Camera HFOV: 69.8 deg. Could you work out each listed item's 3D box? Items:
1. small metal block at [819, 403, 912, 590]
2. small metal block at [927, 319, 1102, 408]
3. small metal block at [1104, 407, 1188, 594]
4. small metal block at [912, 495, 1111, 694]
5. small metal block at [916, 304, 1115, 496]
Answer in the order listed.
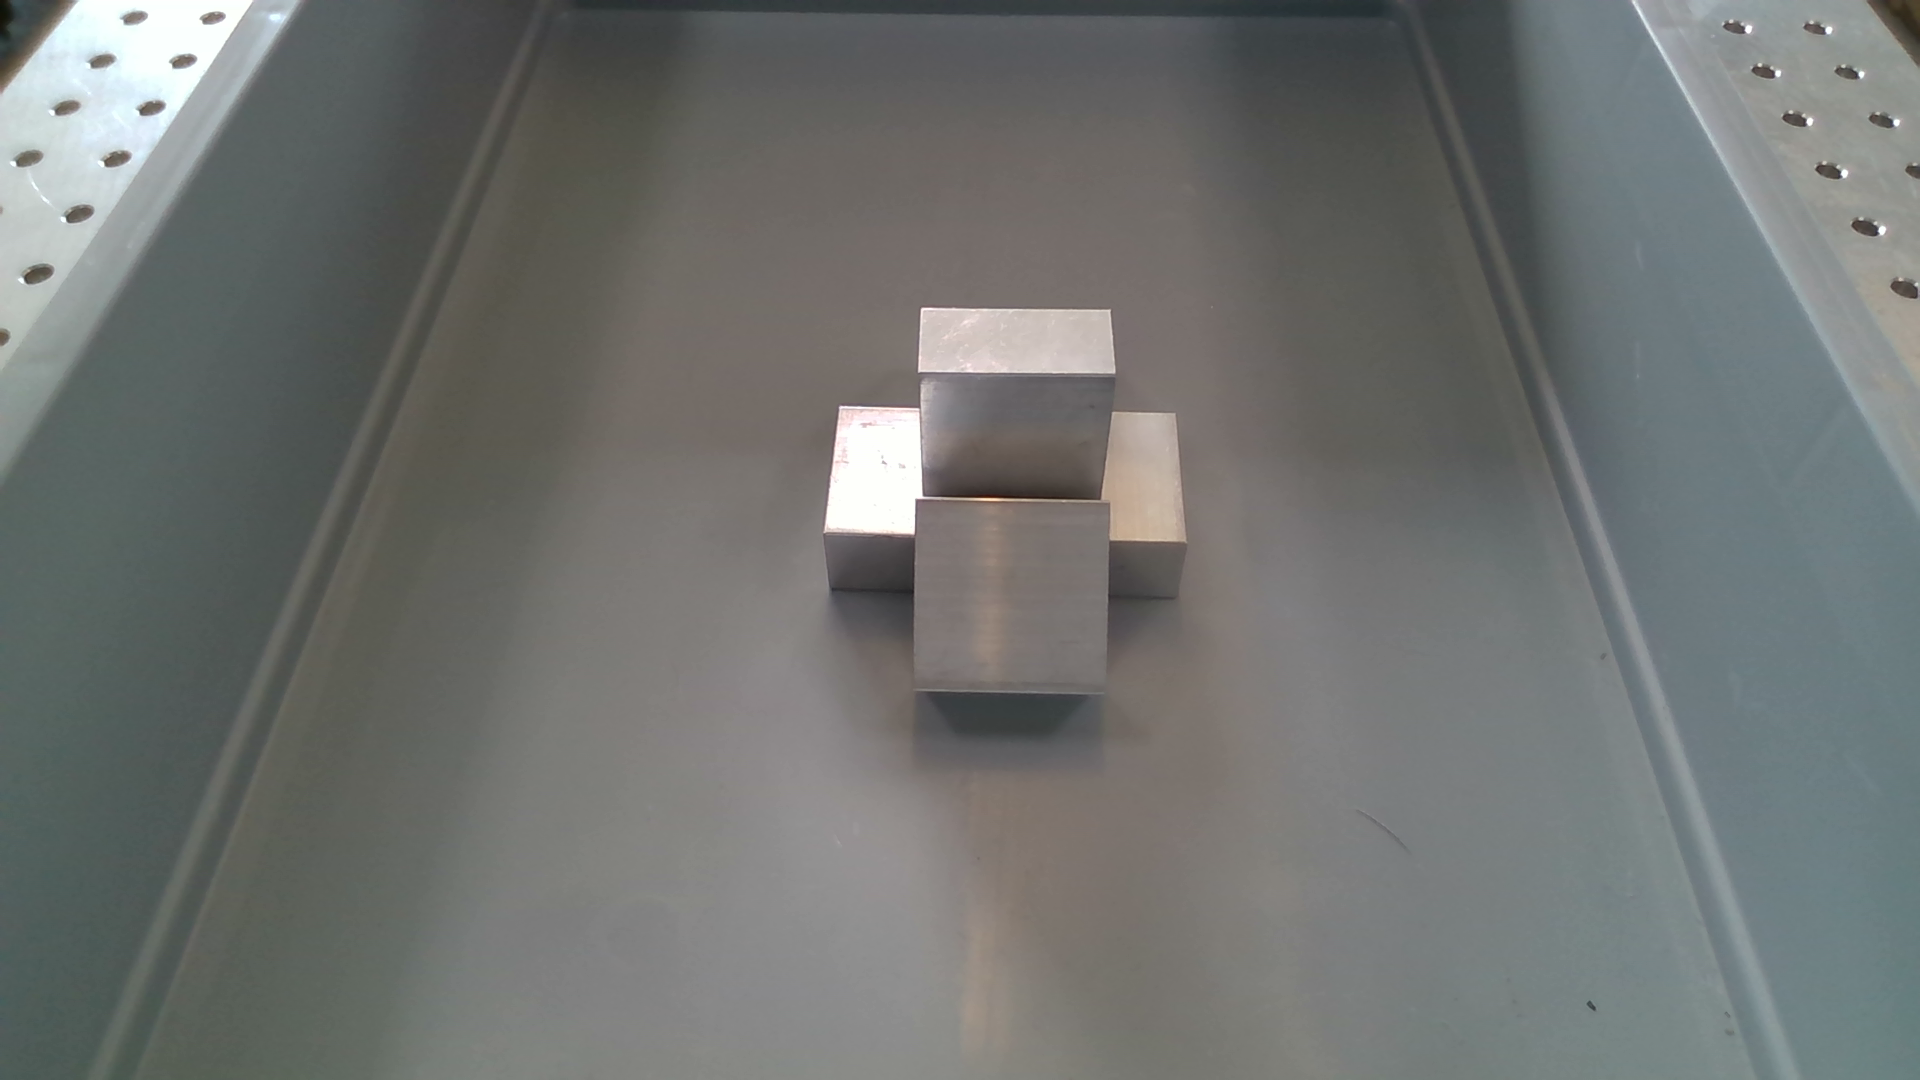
[{"bbox_3d":[-0.013,-0.013,0.402,0.050,0.025,0.050,2,50,2],"label":"small metal block"},{"bbox_3d":[0.016,-0.053,0.419,0.050,0.025,0.050,0,7,1],"label":"small metal block"},{"bbox_3d":[0.038,-0.012,0.401,0.050,0.025,0.050,2,51,2],"label":"small metal block"},{"bbox_3d":[0.013,0.014,0.365,0.050,0.025,0.050,1,90,2],"label":"small metal block"},{"bbox_3d":[0.014,-0.036,0.372,0.050,0.050,0.025,0,51,0],"label":"small metal block"}]
